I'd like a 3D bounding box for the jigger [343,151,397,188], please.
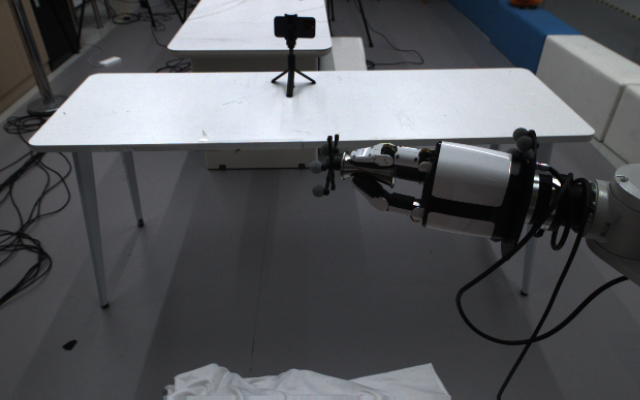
[{"bbox_3d":[0.071,-0.046,0.631,0.071,0.043,0.043,8,35,14],"label":"jigger"}]
